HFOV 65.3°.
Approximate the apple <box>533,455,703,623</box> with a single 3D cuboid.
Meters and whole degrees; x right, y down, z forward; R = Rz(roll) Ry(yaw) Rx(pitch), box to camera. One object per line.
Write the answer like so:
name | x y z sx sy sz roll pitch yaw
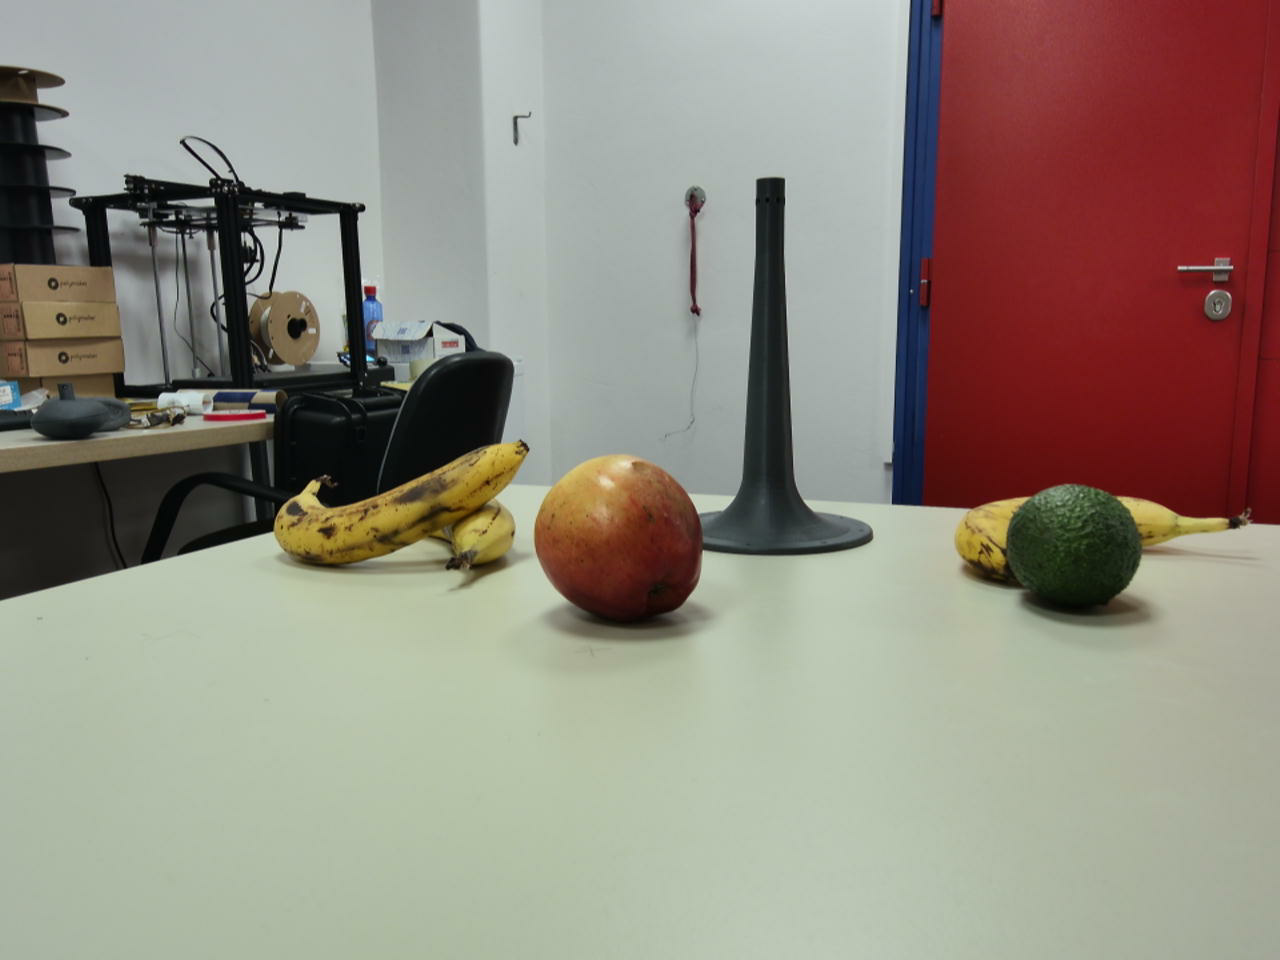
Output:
apple | -0.012 0.030 0.528 0.086 0.084 0.093 -1 6 -12
